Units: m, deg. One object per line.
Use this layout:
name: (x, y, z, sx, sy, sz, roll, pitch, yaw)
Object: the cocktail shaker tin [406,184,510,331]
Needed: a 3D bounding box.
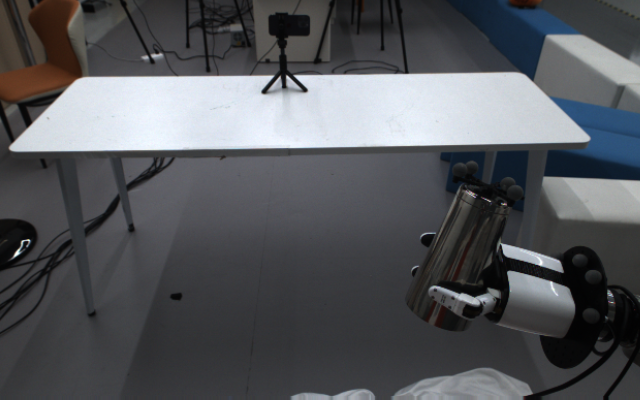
cocktail shaker tin: (0.181, 0.069, 0.618, 0.093, 0.170, 0.093, 14, 20, -5)
